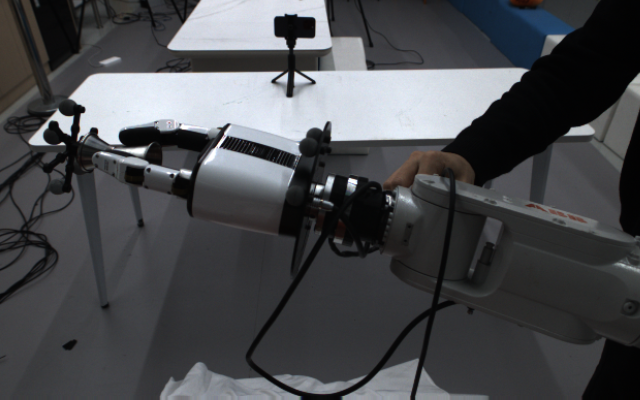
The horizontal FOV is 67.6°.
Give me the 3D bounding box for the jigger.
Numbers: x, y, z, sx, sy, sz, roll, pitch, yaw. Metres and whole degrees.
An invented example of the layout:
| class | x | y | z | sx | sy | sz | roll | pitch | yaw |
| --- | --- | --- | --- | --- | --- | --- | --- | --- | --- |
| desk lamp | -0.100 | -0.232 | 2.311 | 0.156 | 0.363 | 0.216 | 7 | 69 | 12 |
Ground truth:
| class | x | y | z | sx | sy | sz | roll | pitch | yaw |
| --- | --- | --- | --- | --- | --- | --- | --- | --- | --- |
| jigger | -0.193 | -0.044 | 0.489 | 0.071 | 0.043 | 0.043 | 10 | 35 | 2 |
